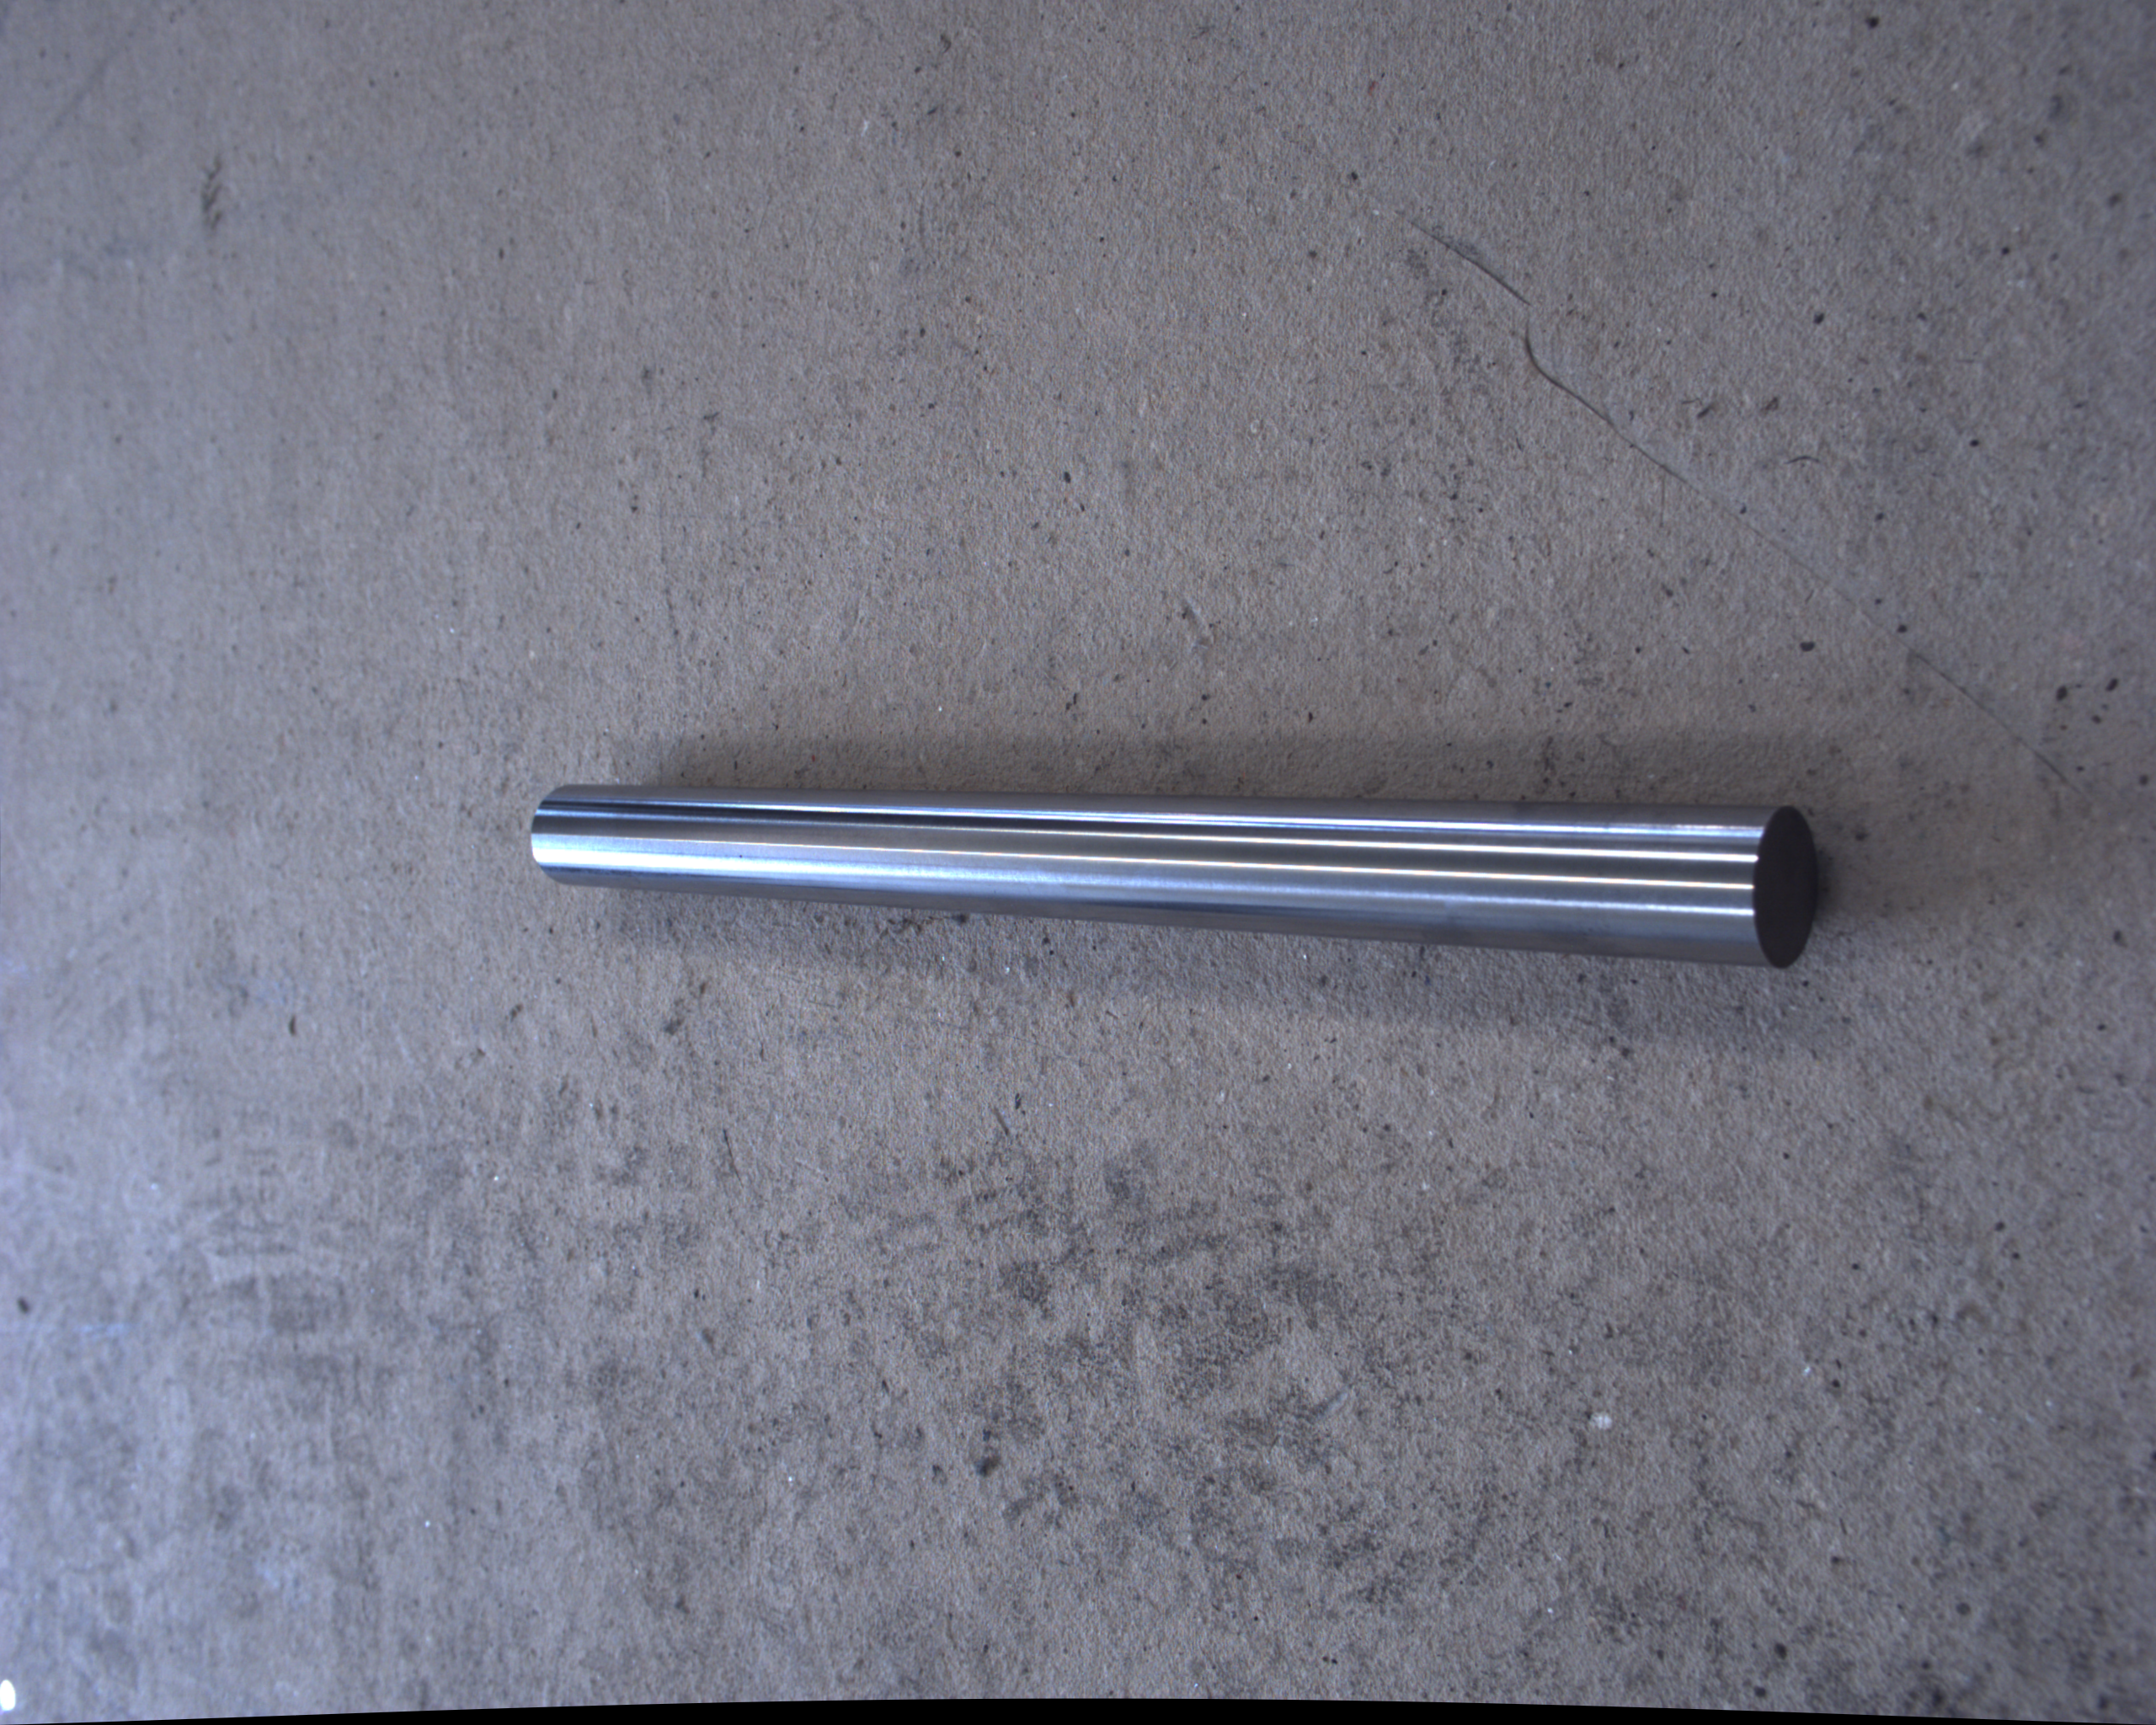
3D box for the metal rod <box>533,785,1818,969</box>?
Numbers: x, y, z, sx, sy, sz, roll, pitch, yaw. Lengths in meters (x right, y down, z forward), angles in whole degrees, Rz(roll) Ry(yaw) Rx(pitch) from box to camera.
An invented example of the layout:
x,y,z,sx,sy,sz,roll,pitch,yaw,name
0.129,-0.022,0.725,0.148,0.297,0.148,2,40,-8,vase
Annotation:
x,y,z,sx,sy,sz,roll,pitch,yaw,name
-0.007,-0.002,0.414,0.300,0.025,0.025,3,92,40,metal rod
